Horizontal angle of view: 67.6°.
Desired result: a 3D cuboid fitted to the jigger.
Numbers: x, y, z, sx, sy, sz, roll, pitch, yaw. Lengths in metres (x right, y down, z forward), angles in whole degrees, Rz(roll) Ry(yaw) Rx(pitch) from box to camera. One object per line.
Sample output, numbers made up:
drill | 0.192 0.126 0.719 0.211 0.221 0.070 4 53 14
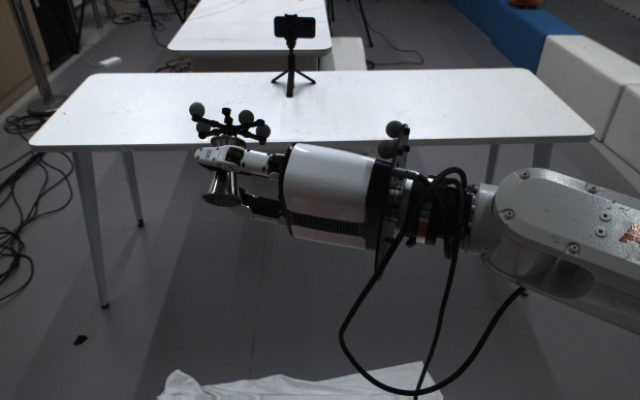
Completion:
jigger | -0.103 -0.032 0.527 0.043 0.043 0.071 3 72 1
